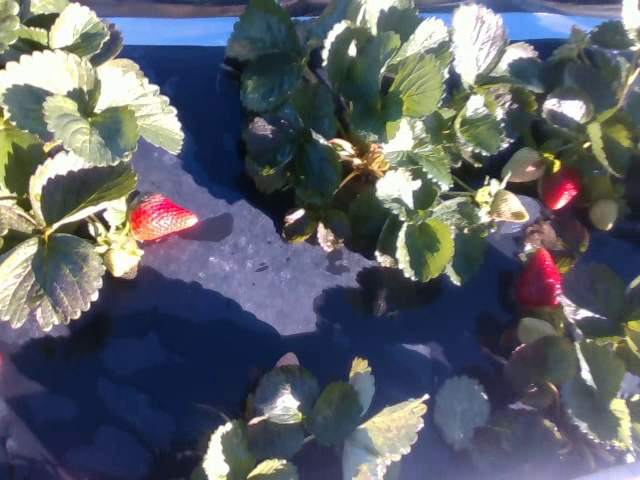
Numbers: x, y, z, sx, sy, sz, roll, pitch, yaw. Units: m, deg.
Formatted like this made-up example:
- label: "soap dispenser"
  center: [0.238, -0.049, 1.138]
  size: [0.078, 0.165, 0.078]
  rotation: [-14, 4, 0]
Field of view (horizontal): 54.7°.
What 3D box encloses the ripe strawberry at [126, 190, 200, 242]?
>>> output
- label: "ripe strawberry"
  center: [-0.134, -0.021, 0.520]
  size: [0.064, 0.049, 0.052]
  rotation: [3, 18, -8]
